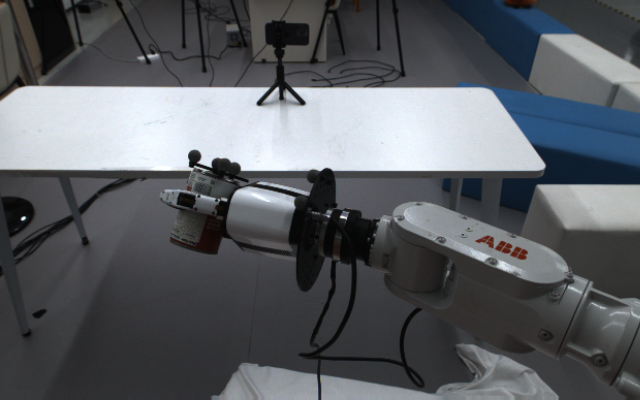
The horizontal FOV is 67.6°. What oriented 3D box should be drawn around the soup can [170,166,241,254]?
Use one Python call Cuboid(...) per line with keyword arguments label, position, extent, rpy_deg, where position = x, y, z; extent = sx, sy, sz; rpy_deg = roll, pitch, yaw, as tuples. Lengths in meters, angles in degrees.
Cuboid(label="soup can", position=(-0.153, 0.016, 0.649), extent=(0.067, 0.101, 0.067), rpy_deg=(18, -1, 0))
